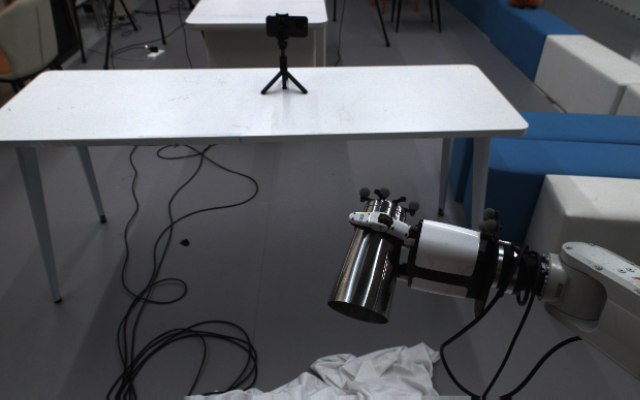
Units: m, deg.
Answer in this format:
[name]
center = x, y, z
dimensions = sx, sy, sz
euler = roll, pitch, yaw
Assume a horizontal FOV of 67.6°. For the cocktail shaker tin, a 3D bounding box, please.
[cocktail shaker tin]
center = 0.082, 0.084, 0.725
dimensions = 0.093, 0.093, 0.170
euler = 12, 65, 14
